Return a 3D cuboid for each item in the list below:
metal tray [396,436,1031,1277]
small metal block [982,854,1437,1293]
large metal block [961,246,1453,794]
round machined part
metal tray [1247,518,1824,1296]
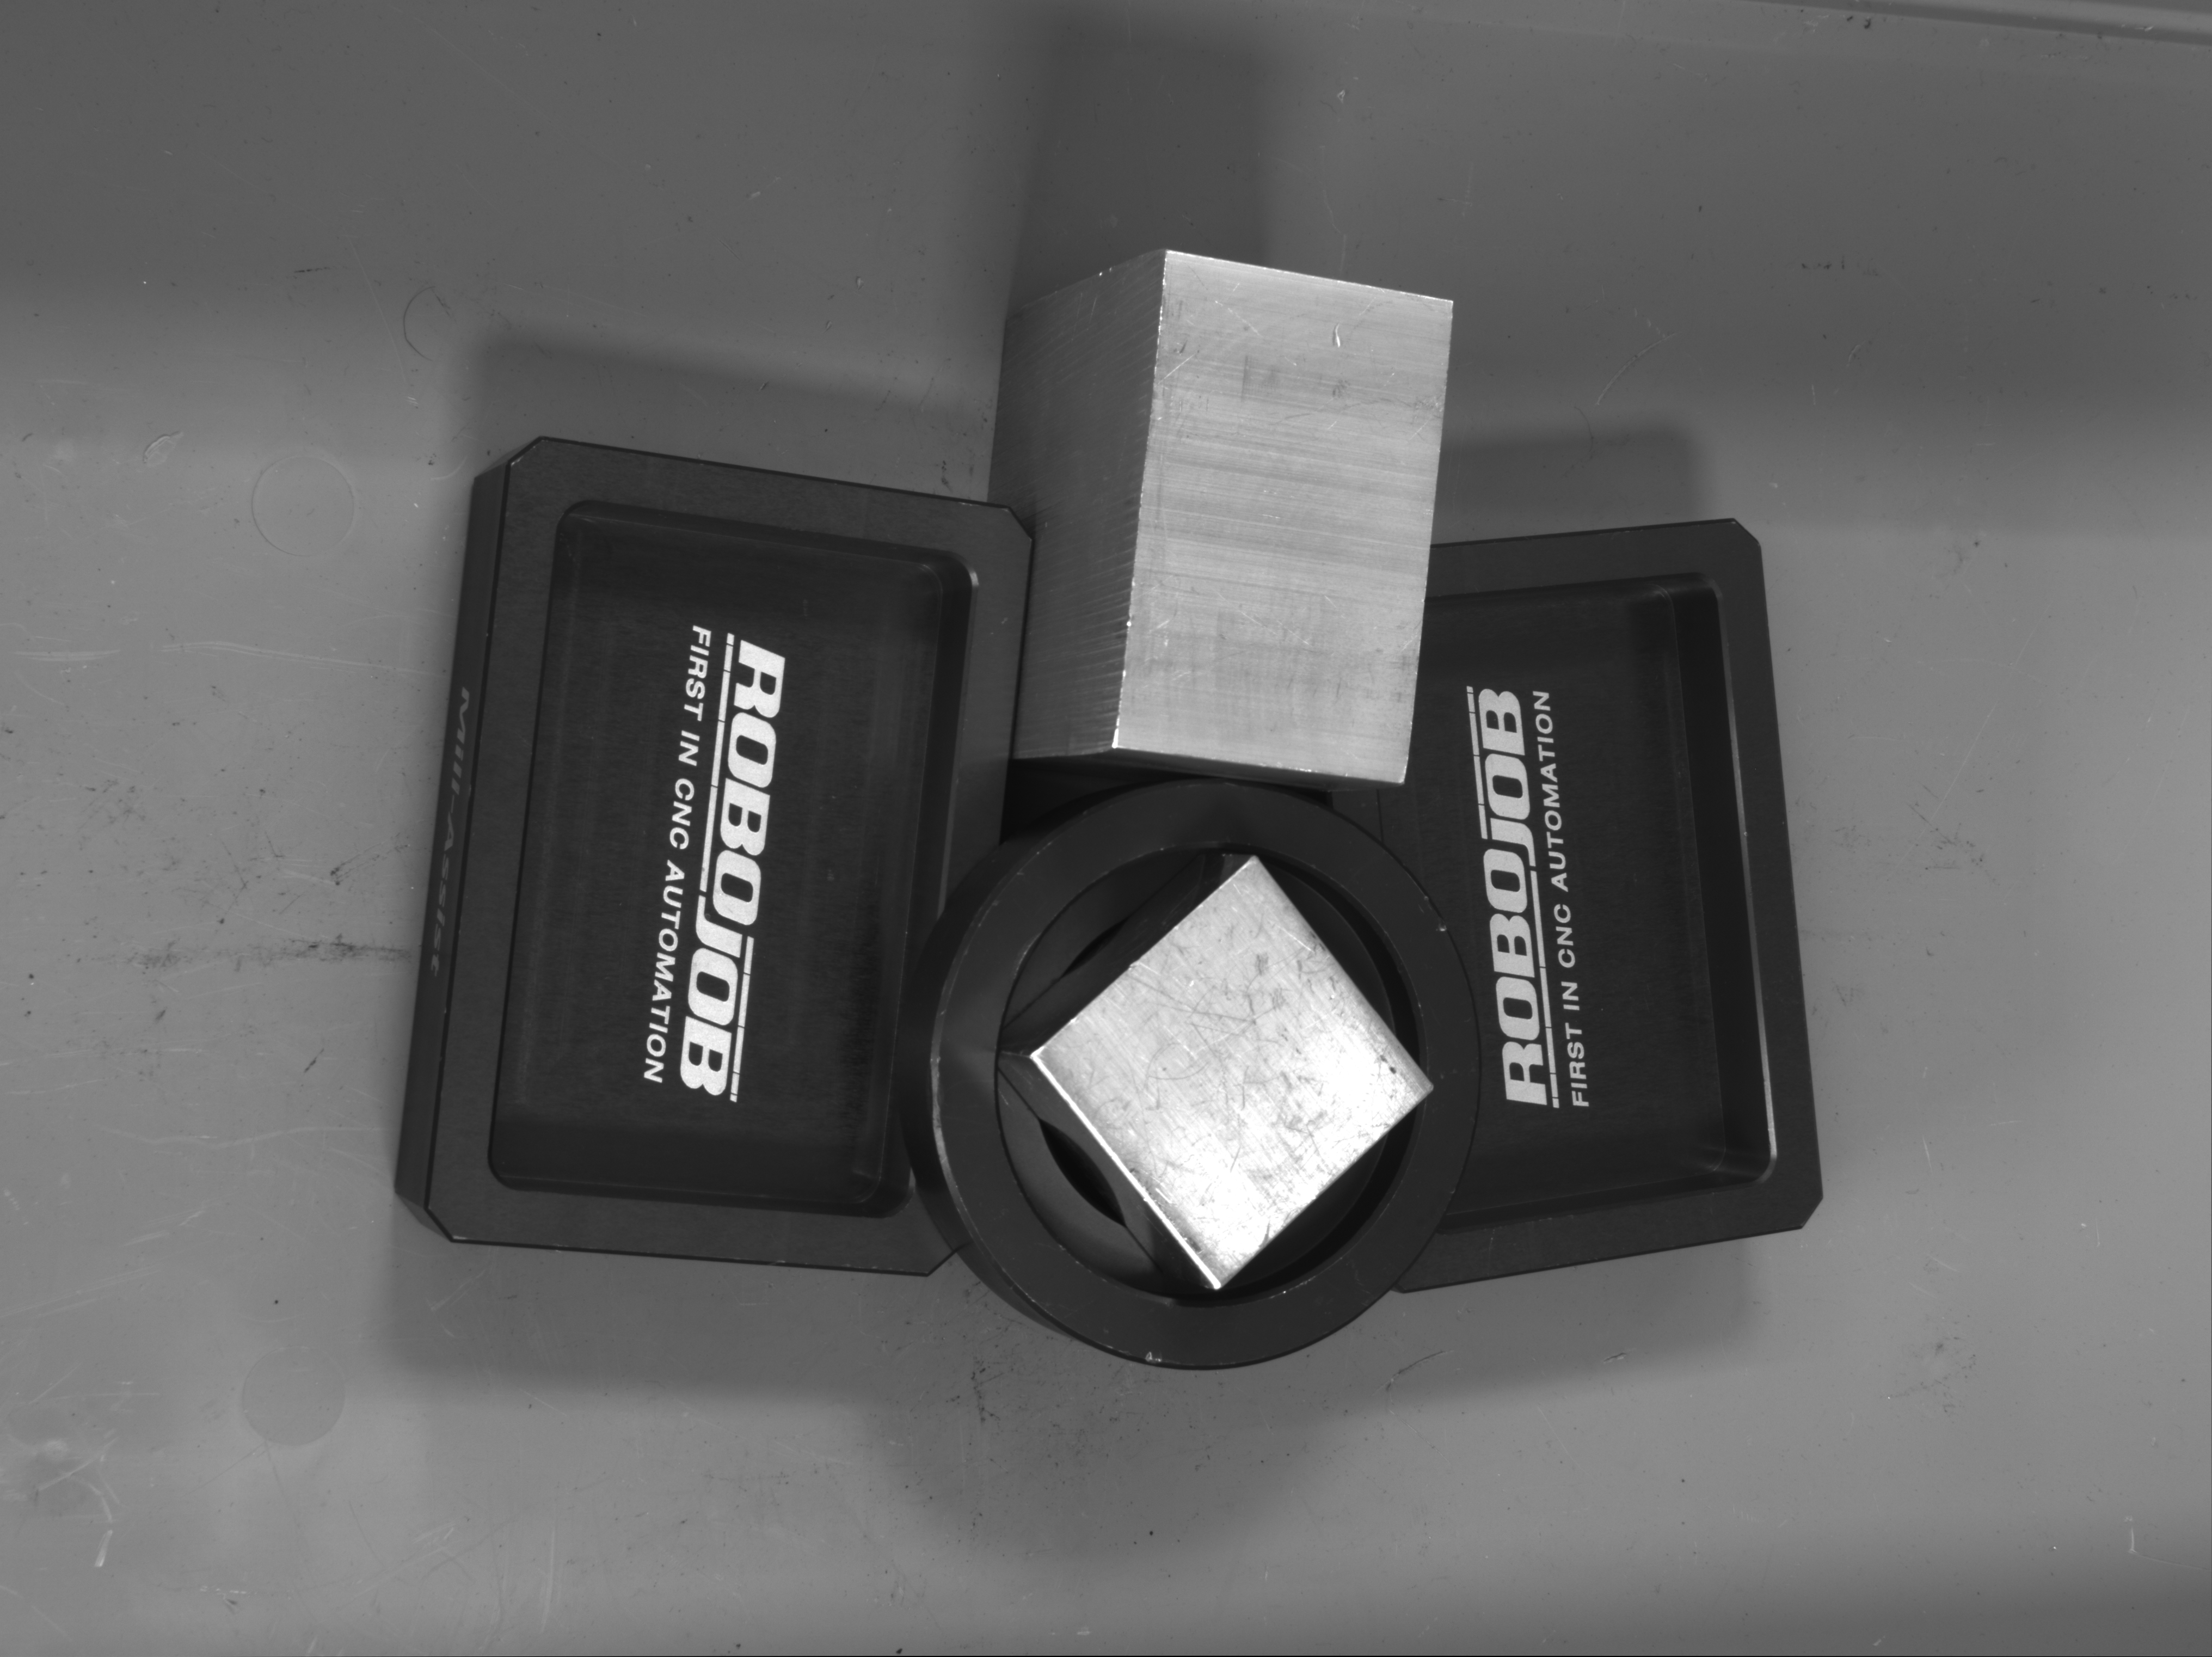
[{"bbox_3d":[-0.065,0.006,0.615,0.090,0.030,0.130,7,88,-20],"label":"metal tray"},{"bbox_3d":[0.017,0.039,0.603,0.050,0.025,0.050,-41,103,-15],"label":"small metal block"},{"bbox_3d":[0.015,-0.048,0.618,0.050,0.080,0.080,7,88,-20],"label":"large metal block"},{"bbox_3d":[0.012,0.041,0.627,0.098,0.042,0.098,0,90,-20],"label":"round machined part"},{"bbox_3d":[0.078,0.013,0.667,0.090,0.030,0.130,-7,92,-20],"label":"metal tray"}]
